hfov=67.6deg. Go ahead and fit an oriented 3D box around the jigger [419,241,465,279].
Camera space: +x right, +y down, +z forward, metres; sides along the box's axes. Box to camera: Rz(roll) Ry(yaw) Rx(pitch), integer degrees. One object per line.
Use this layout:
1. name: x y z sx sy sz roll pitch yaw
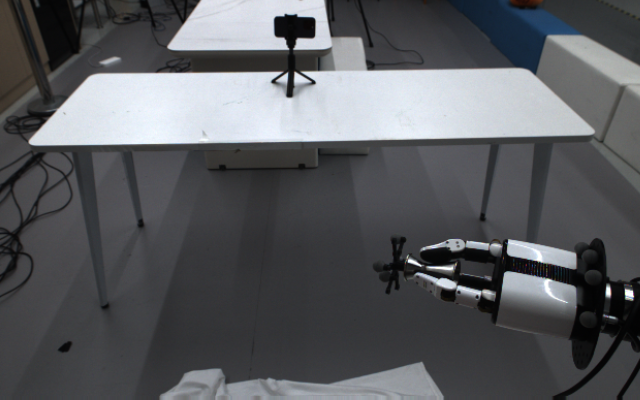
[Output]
1. jigger: 0.160 0.090 0.660 0.071 0.043 0.043 6 33 26
